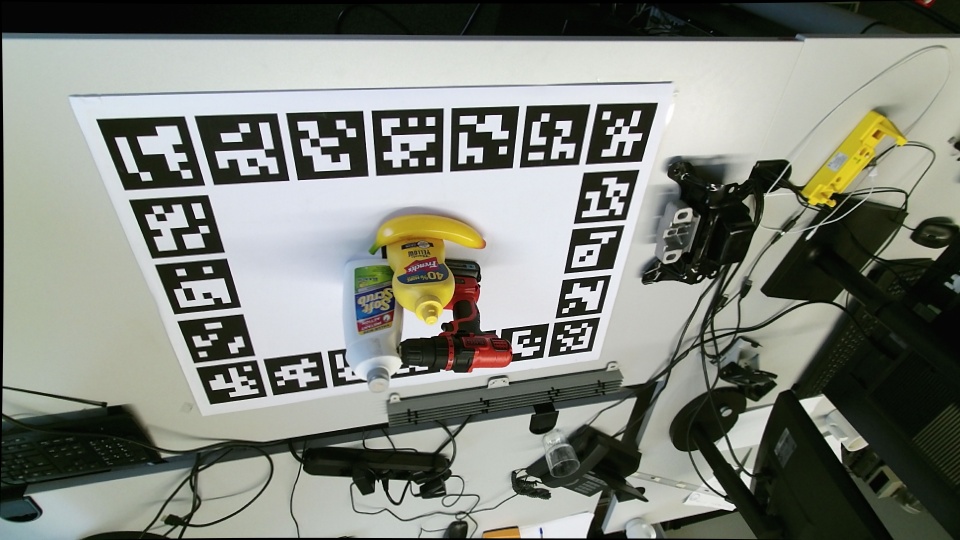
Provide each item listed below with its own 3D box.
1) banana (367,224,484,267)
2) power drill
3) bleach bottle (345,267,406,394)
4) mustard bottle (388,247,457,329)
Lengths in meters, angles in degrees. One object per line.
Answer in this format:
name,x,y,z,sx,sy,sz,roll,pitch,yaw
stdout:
banana,-0.086,-0.041,0.890,0.198,0.038,0.074,-2,124,-18
power drill,-0.048,0.099,0.868,0.185,0.186,0.057,6,123,-19
bleach bottle,-0.155,0.099,0.832,0.103,0.249,0.068,-3,131,-15
mustard bottle,-0.088,0.032,0.834,0.096,0.190,0.058,-4,125,-13
